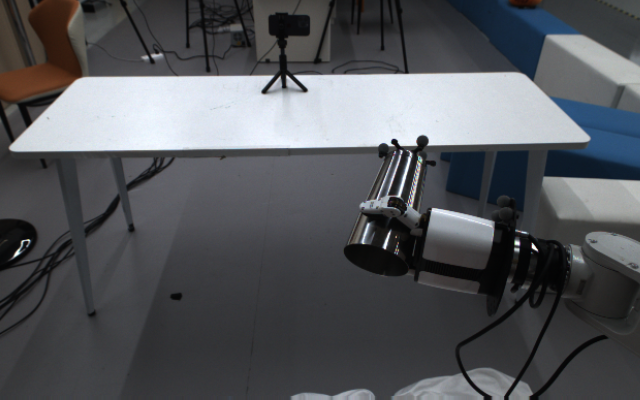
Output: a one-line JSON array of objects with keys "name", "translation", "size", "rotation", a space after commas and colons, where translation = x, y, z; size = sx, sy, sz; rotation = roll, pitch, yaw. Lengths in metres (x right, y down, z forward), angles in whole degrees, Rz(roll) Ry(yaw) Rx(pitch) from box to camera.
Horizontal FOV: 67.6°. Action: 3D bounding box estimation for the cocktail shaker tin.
[{"name": "cocktail shaker tin", "translation": [0.101, 0.012, 0.694], "size": [0.093, 0.093, 0.170], "rotation": [14, 60, 16]}]
